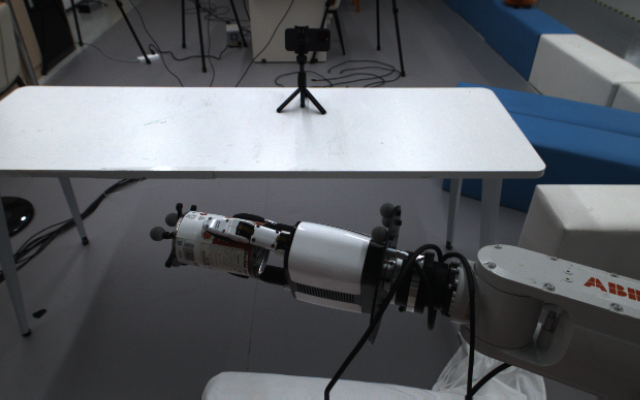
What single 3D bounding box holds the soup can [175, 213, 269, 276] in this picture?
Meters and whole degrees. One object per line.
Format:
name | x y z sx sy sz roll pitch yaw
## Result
soup can | -0.116 0.053 0.590 0.101 0.067 0.067 9 35 10
